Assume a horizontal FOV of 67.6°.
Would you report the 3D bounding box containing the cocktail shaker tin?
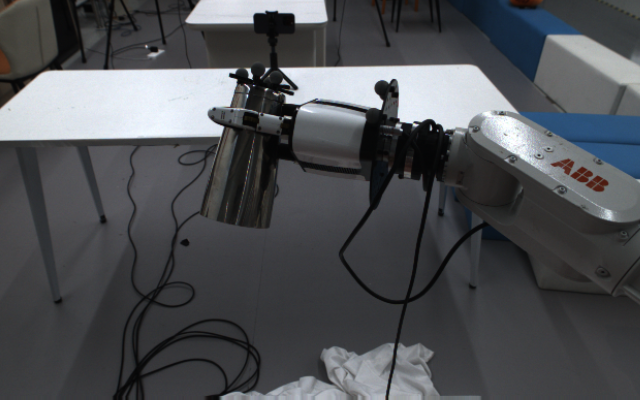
[{"bbox_3d":[-0.092,-0.058,0.627,0.093,0.170,0.093,12,3,-1],"label":"cocktail shaker tin"}]
